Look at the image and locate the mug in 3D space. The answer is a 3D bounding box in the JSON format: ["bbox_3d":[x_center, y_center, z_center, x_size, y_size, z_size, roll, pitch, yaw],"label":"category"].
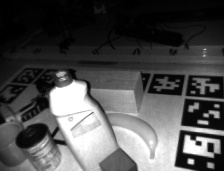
[{"bbox_3d":[-0.268,0.145,0.548,0.118,0.082,0.092,-29,42,-14],"label":"mug"}]

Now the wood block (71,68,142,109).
[{"bbox_3d":[-0.024,0.008,0.645,0.204,0.092,0.090,2,42,19],"label":"wood block"}]

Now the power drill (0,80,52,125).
[{"bbox_3d":[-0.263,0.064,0.679,0.188,0.058,0.182,-36,46,-28],"label":"power drill"}]

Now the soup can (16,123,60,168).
[{"bbox_3d":[-0.169,0.136,0.506,0.068,0.103,0.067,-7,35,5],"label":"soup can"}]

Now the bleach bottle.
[{"bbox_3d":[-0.057,0.070,0.443,0.103,0.253,0.067,-36,42,-27],"label":"bleach bottle"}]

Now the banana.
[{"bbox_3d":[0.028,0.085,0.569,0.195,0.039,0.074,17,61,30],"label":"banana"}]

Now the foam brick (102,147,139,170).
[{"bbox_3d":[0.019,0.171,0.439,0.052,0.079,0.052,-31,39,-24],"label":"foam brick"}]
